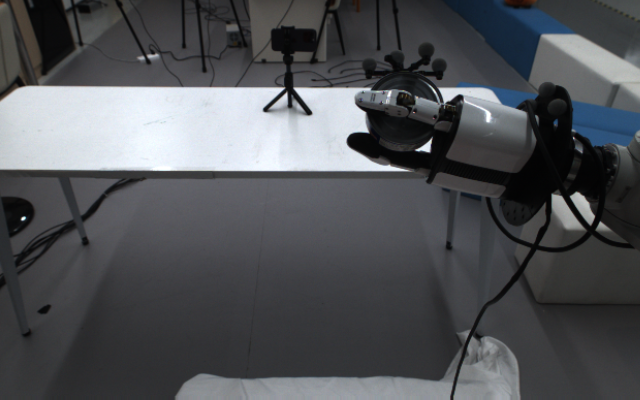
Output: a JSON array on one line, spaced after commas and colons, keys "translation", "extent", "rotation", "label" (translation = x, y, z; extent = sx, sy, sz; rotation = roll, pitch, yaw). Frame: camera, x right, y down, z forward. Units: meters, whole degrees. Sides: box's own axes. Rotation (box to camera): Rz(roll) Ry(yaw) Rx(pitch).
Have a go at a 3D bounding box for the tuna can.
[{"translation": [0.094, -0.101, 0.547], "extent": [0.085, 0.034, 0.085], "rotation": [-1, 74, 4], "label": "tuna can"}]
